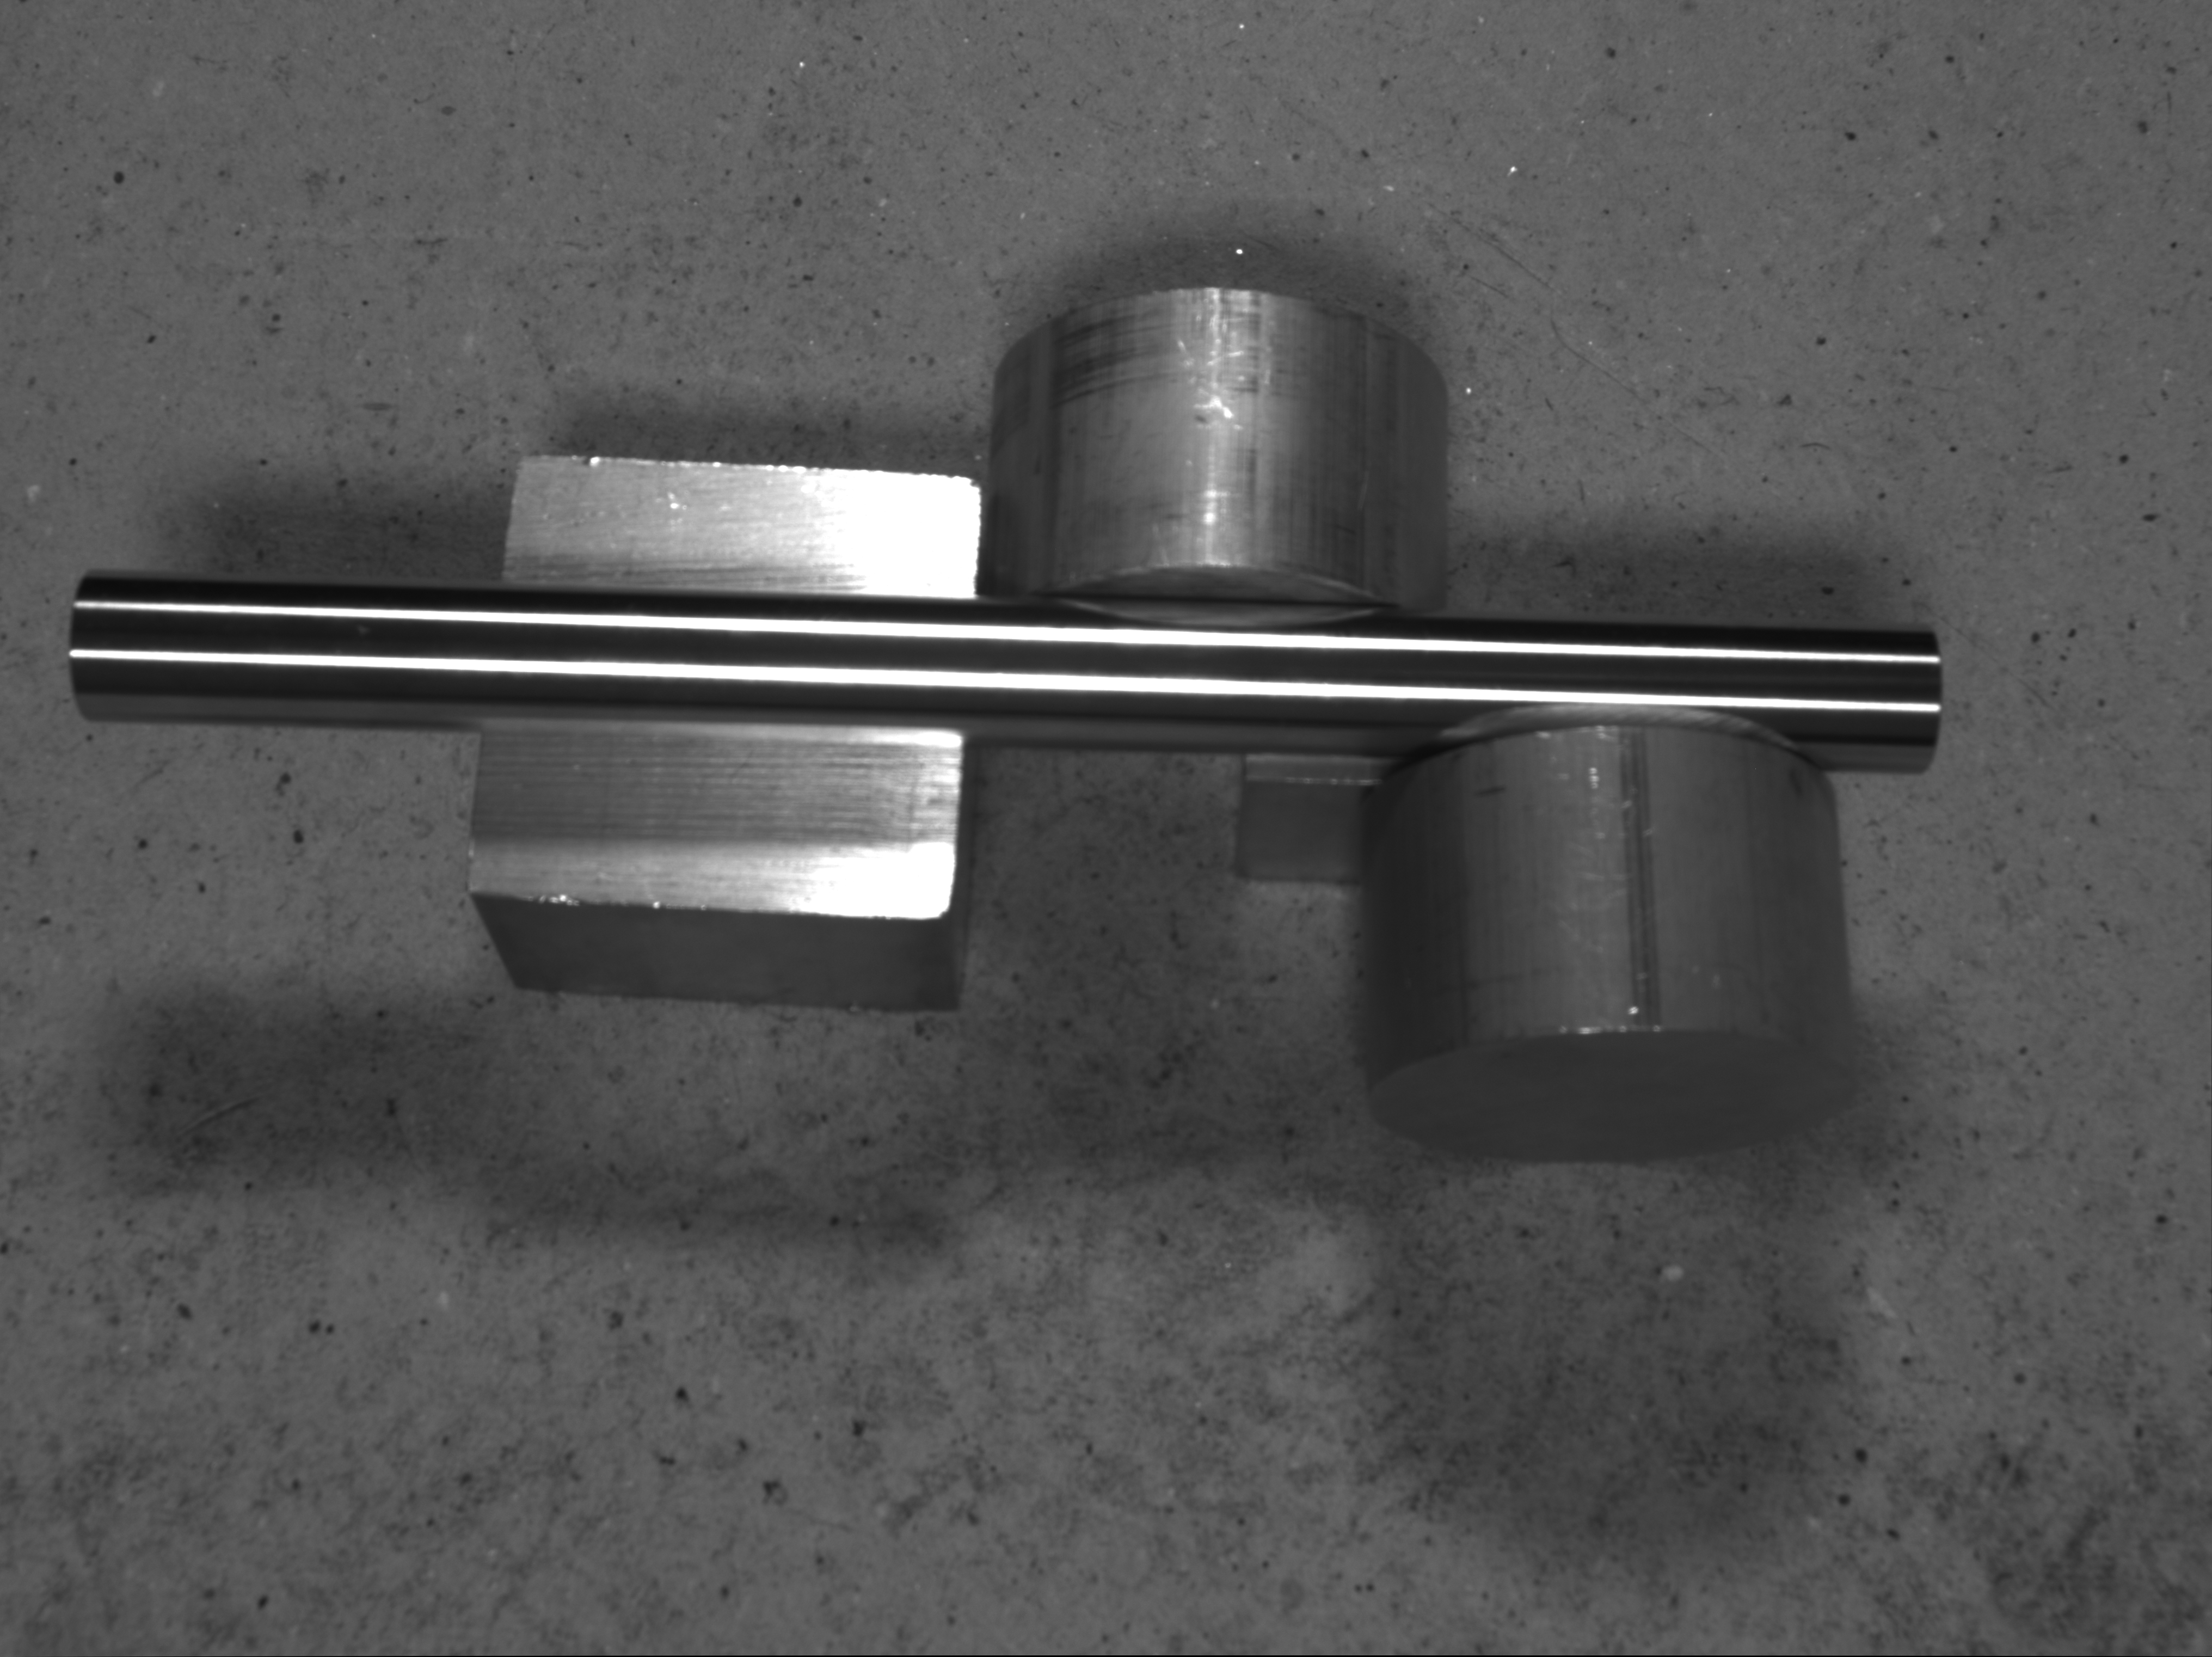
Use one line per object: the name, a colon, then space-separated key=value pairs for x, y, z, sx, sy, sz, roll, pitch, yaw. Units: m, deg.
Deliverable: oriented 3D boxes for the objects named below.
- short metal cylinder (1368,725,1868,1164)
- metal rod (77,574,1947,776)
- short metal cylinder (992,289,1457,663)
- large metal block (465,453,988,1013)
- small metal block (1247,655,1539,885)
short metal cylinder: x=0.084 y=0.021 z=0.608 sx=0.080 sy=0.080 sz=0.050 roll=0 pitch=70 yaw=0
metal rod: x=-0.015 y=-0.025 z=0.600 sx=0.300 sy=0.025 sz=0.025 roll=2 pitch=70 yaw=-1
short metal cylinder: x=0.021 y=-0.052 z=0.636 sx=0.080 sy=0.080 sz=0.050 roll=2 pitch=70 yaw=1
large metal block: x=-0.062 y=-0.016 z=0.634 sx=0.080 sy=0.050 sz=0.080 roll=3 pitch=70 yaw=1
small metal block: x=0.050 y=-0.010 z=0.634 sx=0.050 sy=0.050 sz=0.025 roll=1 pitch=70 yaw=1
